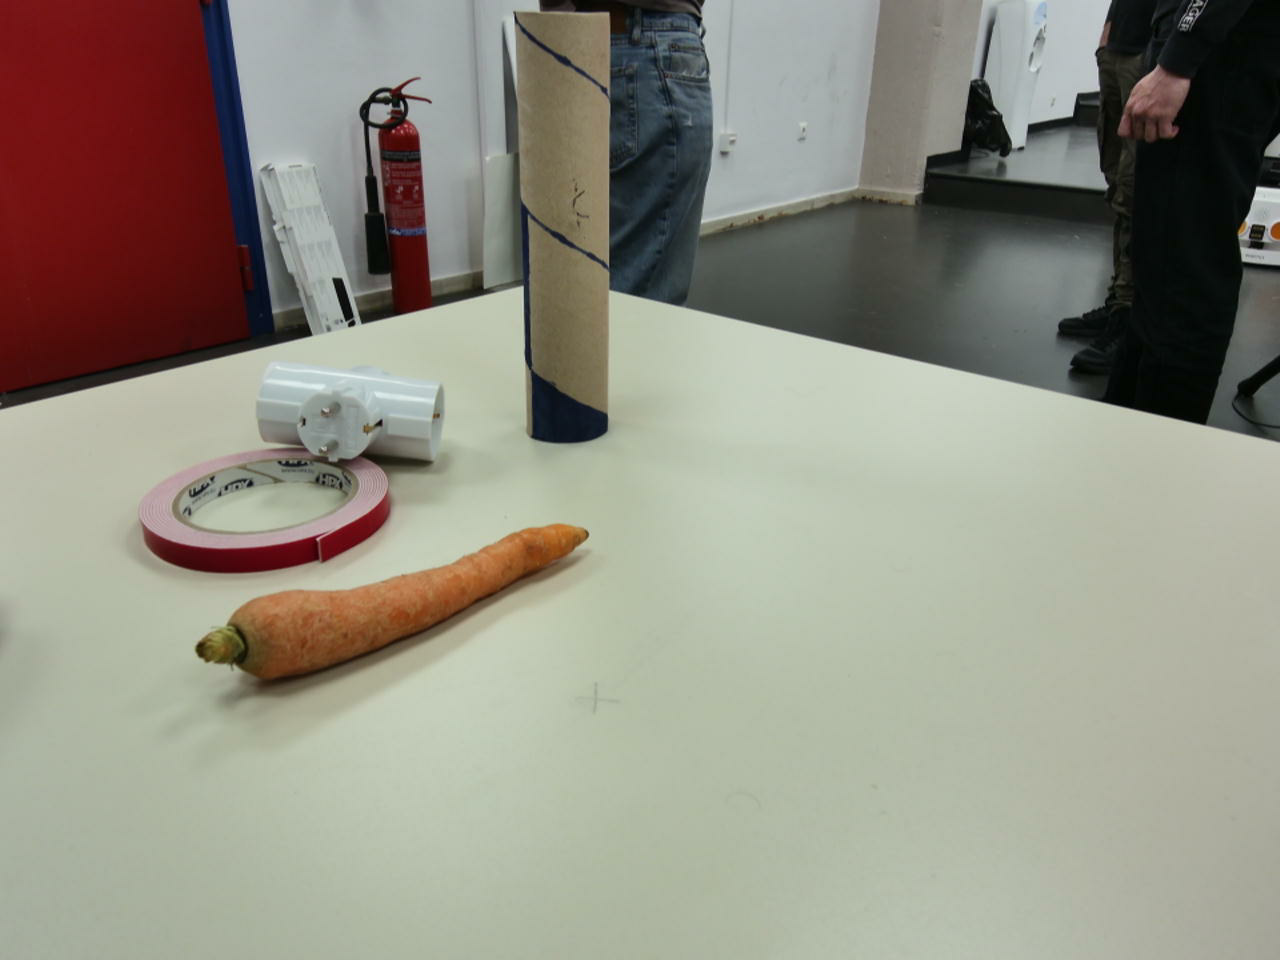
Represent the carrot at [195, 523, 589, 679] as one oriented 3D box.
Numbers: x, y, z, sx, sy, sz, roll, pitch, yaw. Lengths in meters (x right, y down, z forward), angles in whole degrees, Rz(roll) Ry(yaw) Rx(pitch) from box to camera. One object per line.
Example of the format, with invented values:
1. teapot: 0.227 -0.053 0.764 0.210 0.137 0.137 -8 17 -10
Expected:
1. carrot: -0.084 0.041 0.387 0.173 0.032 0.030 -19 29 -38
